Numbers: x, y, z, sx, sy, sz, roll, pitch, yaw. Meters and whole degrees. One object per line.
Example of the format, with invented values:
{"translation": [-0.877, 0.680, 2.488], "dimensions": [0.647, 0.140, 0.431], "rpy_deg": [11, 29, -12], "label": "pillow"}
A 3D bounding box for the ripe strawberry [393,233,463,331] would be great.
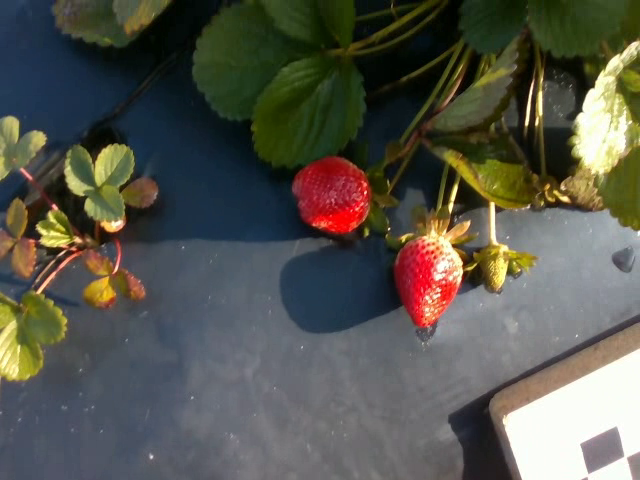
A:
{"translation": [0.058, 0.022, 0.307], "dimensions": [0.043, 0.053, 0.039], "rpy_deg": [19, -30, -15], "label": "ripe strawberry"}

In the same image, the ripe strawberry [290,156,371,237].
{"translation": [0.007, -0.023, 0.321], "dimensions": [0.054, 0.048, 0.039], "rpy_deg": [-15, 18, -31], "label": "ripe strawberry"}
